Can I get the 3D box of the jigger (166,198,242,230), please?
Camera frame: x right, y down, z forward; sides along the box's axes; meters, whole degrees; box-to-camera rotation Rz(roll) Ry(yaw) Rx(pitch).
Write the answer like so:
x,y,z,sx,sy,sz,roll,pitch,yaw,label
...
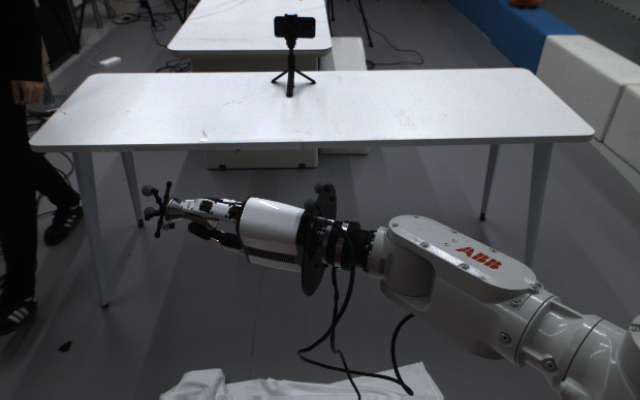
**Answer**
x,y,z,sx,sy,sz,roll,pitch,yaw,label
-0.184,0.016,0.733,0.071,0.043,0.043,6,35,14,jigger
